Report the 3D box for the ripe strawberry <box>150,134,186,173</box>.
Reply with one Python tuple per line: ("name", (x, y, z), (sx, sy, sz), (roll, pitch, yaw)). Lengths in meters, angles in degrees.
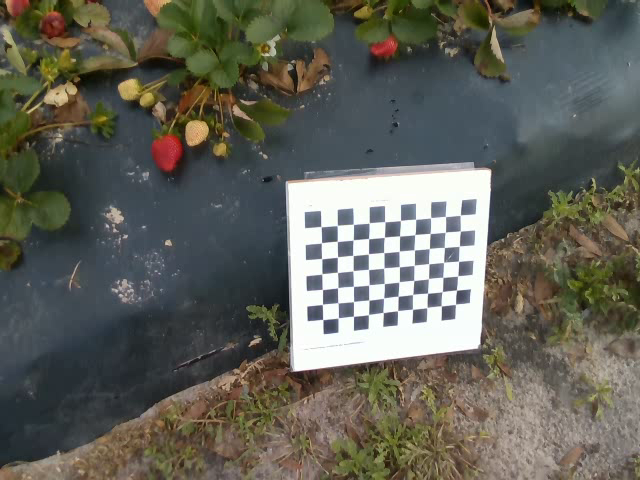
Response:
("ripe strawberry", (-0.201, -0.114, 0.796), (0.050, 0.059, 0.034), (-15, -31, -6))
